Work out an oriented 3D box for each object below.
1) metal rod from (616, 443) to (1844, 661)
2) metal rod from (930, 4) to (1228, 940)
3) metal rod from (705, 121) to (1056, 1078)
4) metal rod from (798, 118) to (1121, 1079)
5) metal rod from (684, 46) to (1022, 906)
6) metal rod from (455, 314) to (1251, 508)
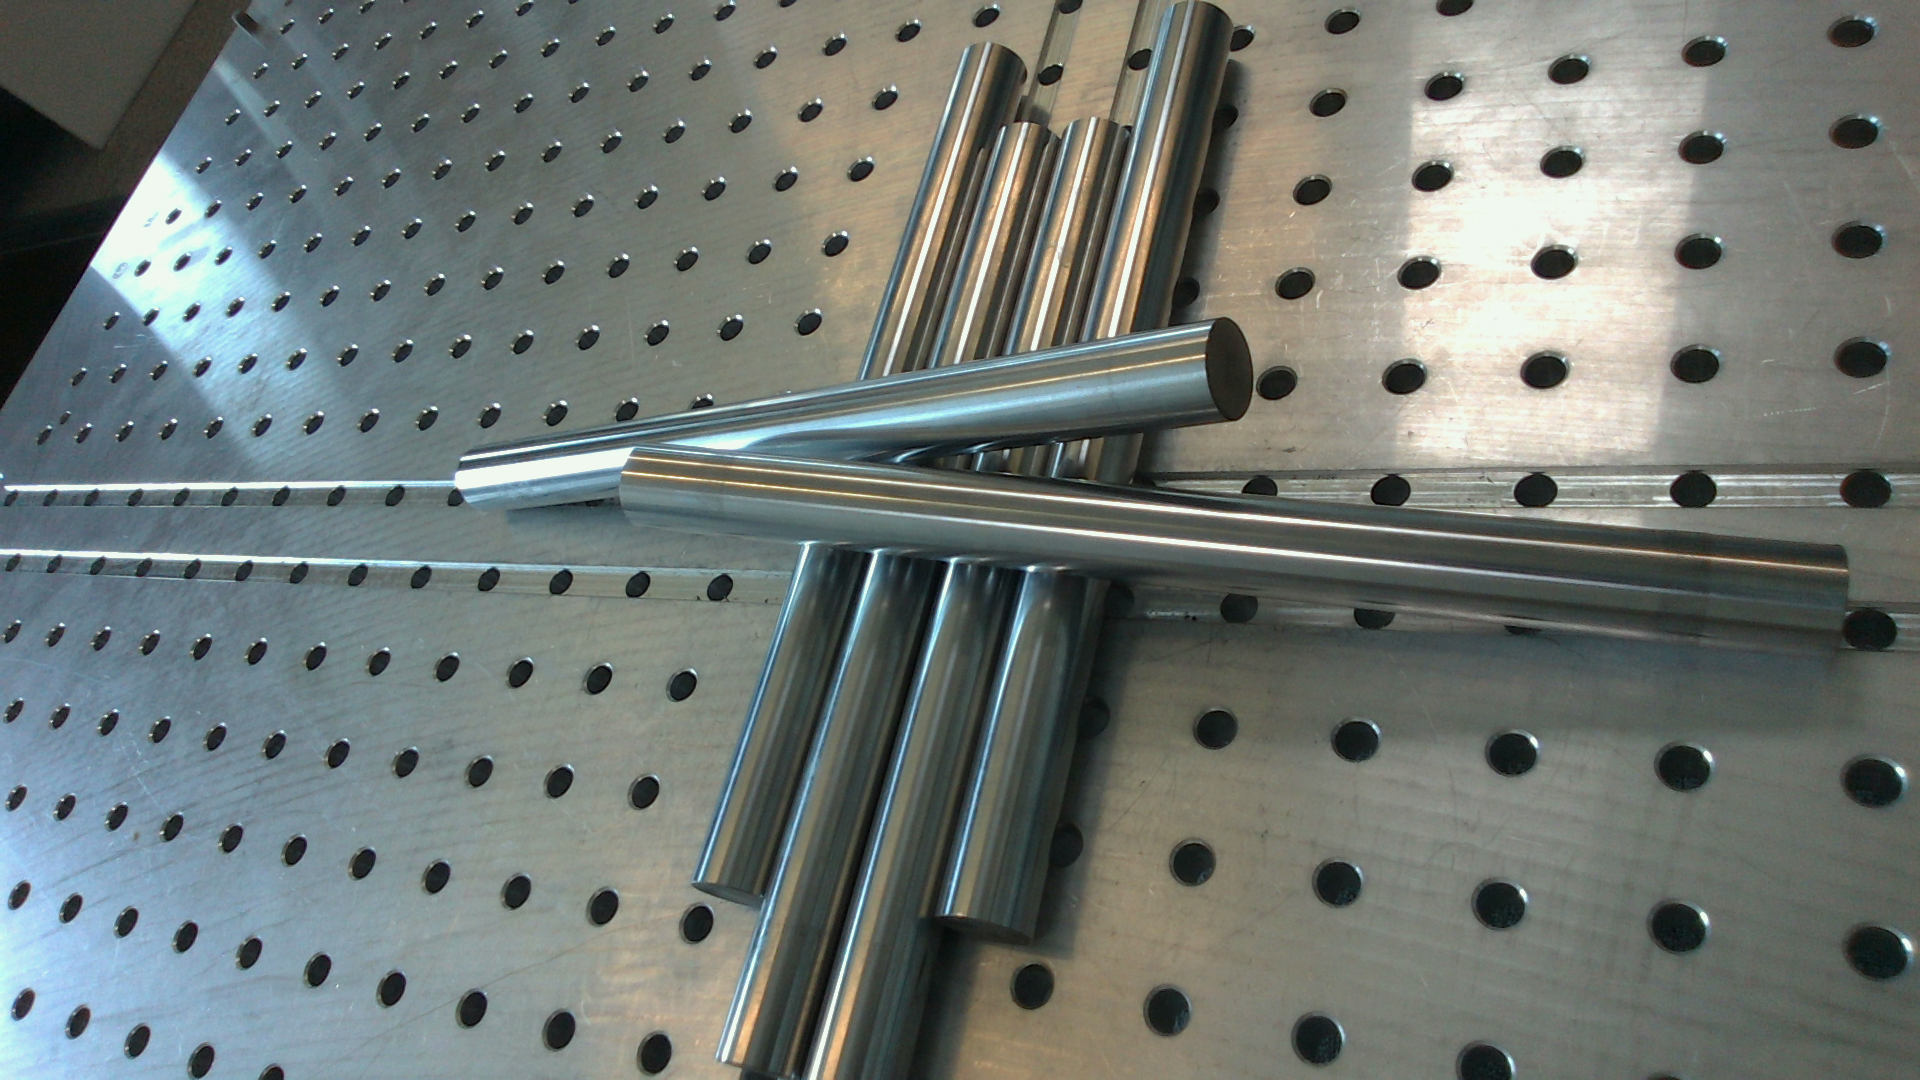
[{"bbox_3d":[0.046,-0.001,0.346,0.299,0.025,0.025,6,64,21],"label":"metal rod"},{"bbox_3d":[0.041,-0.037,0.397,0.025,0.025,0.300,1,62,29],"label":"metal rod"},{"bbox_3d":[-0.014,-0.001,0.403,0.025,0.025,0.300,1,62,29],"label":"metal rod"},{"bbox_3d":[0.009,0.002,0.392,0.025,0.025,0.300,1,62,29],"label":"metal rod"},{"bbox_3d":[-0.026,-0.036,0.432,0.025,0.025,0.300,1,62,29],"label":"metal rod"},{"bbox_3d":[-0.056,-0.032,0.417,0.299,0.025,0.025,-4,59,37],"label":"metal rod"}]
